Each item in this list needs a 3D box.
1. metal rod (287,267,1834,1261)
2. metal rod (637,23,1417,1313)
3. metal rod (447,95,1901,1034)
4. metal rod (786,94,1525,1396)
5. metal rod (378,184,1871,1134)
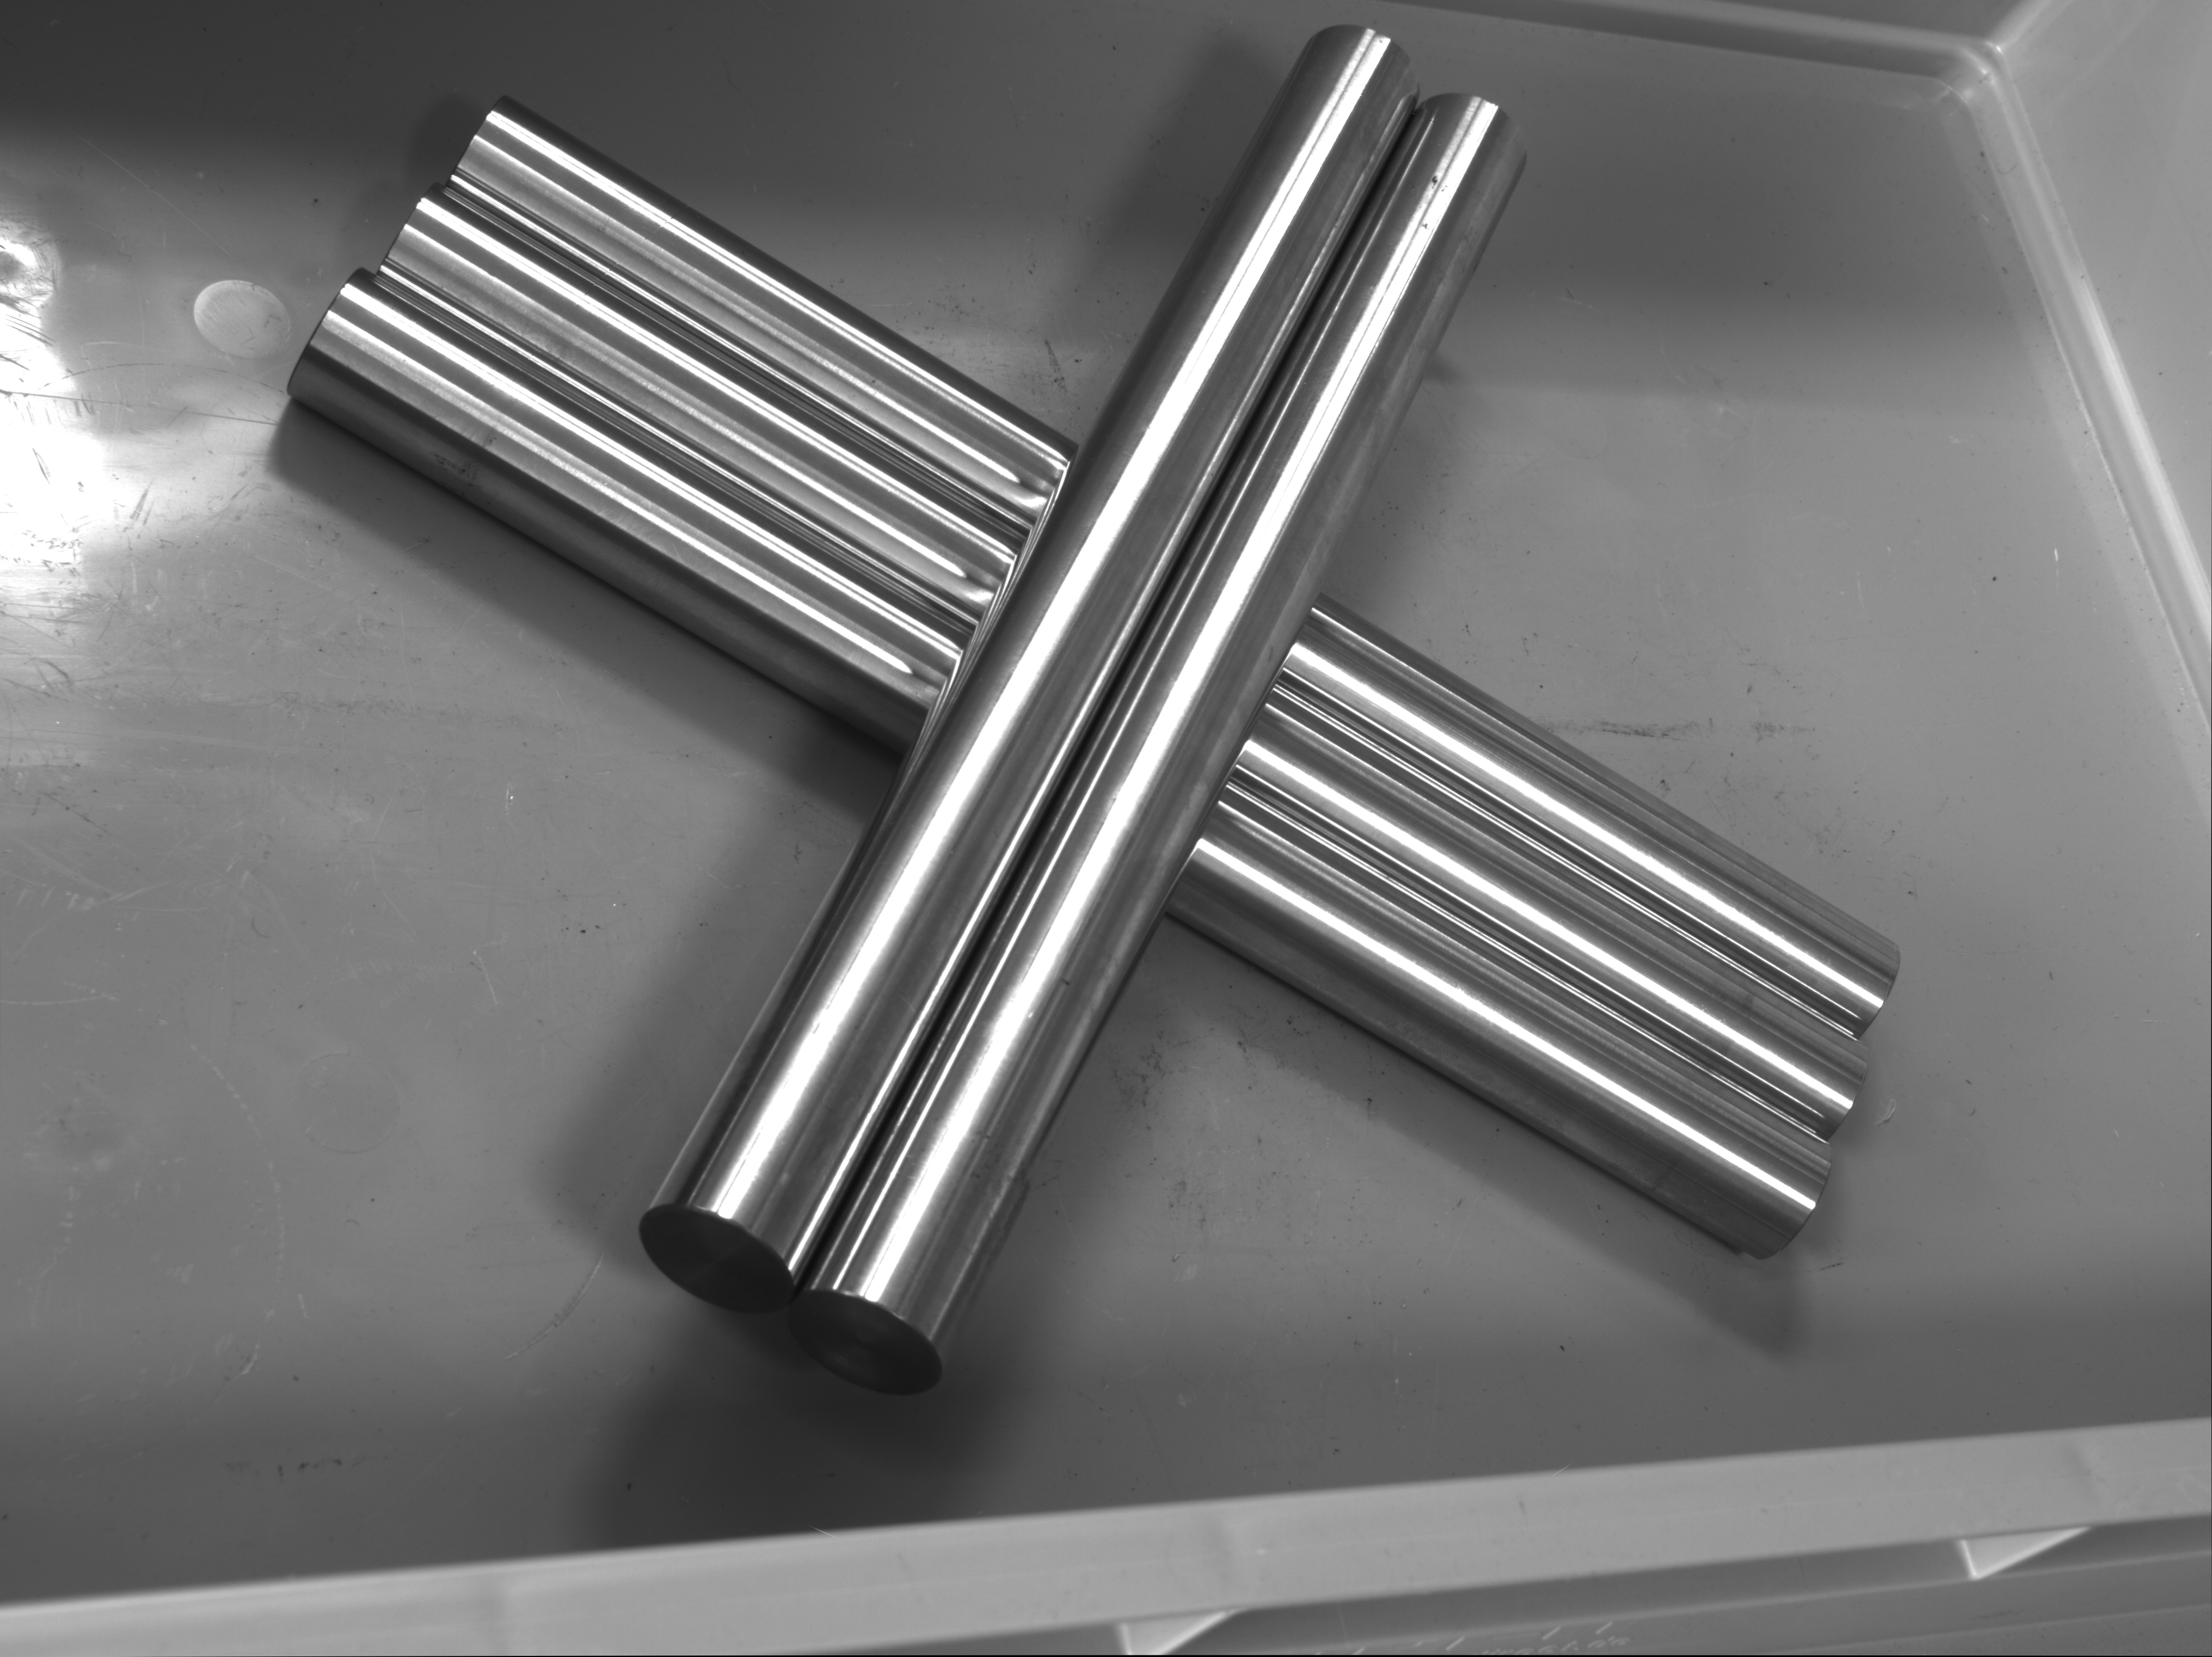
[{"bbox_3d":[-0.004,-0.008,0.640,0.300,0.025,0.025,31,52,-9],"label":"metal rod"},{"bbox_3d":[-0.004,-0.042,0.629,0.025,0.025,0.300,32,51,-7],"label":"metal rod"},{"bbox_3d":[0.015,-0.043,0.672,0.300,0.025,0.025,31,52,-8],"label":"metal rod"},{"bbox_3d":[0.018,-0.030,0.633,0.025,0.025,0.300,32,51,-7],"label":"metal rod"},{"bbox_3d":[0.006,-0.025,0.656,0.300,0.025,0.025,31,52,-9],"label":"metal rod"}]
